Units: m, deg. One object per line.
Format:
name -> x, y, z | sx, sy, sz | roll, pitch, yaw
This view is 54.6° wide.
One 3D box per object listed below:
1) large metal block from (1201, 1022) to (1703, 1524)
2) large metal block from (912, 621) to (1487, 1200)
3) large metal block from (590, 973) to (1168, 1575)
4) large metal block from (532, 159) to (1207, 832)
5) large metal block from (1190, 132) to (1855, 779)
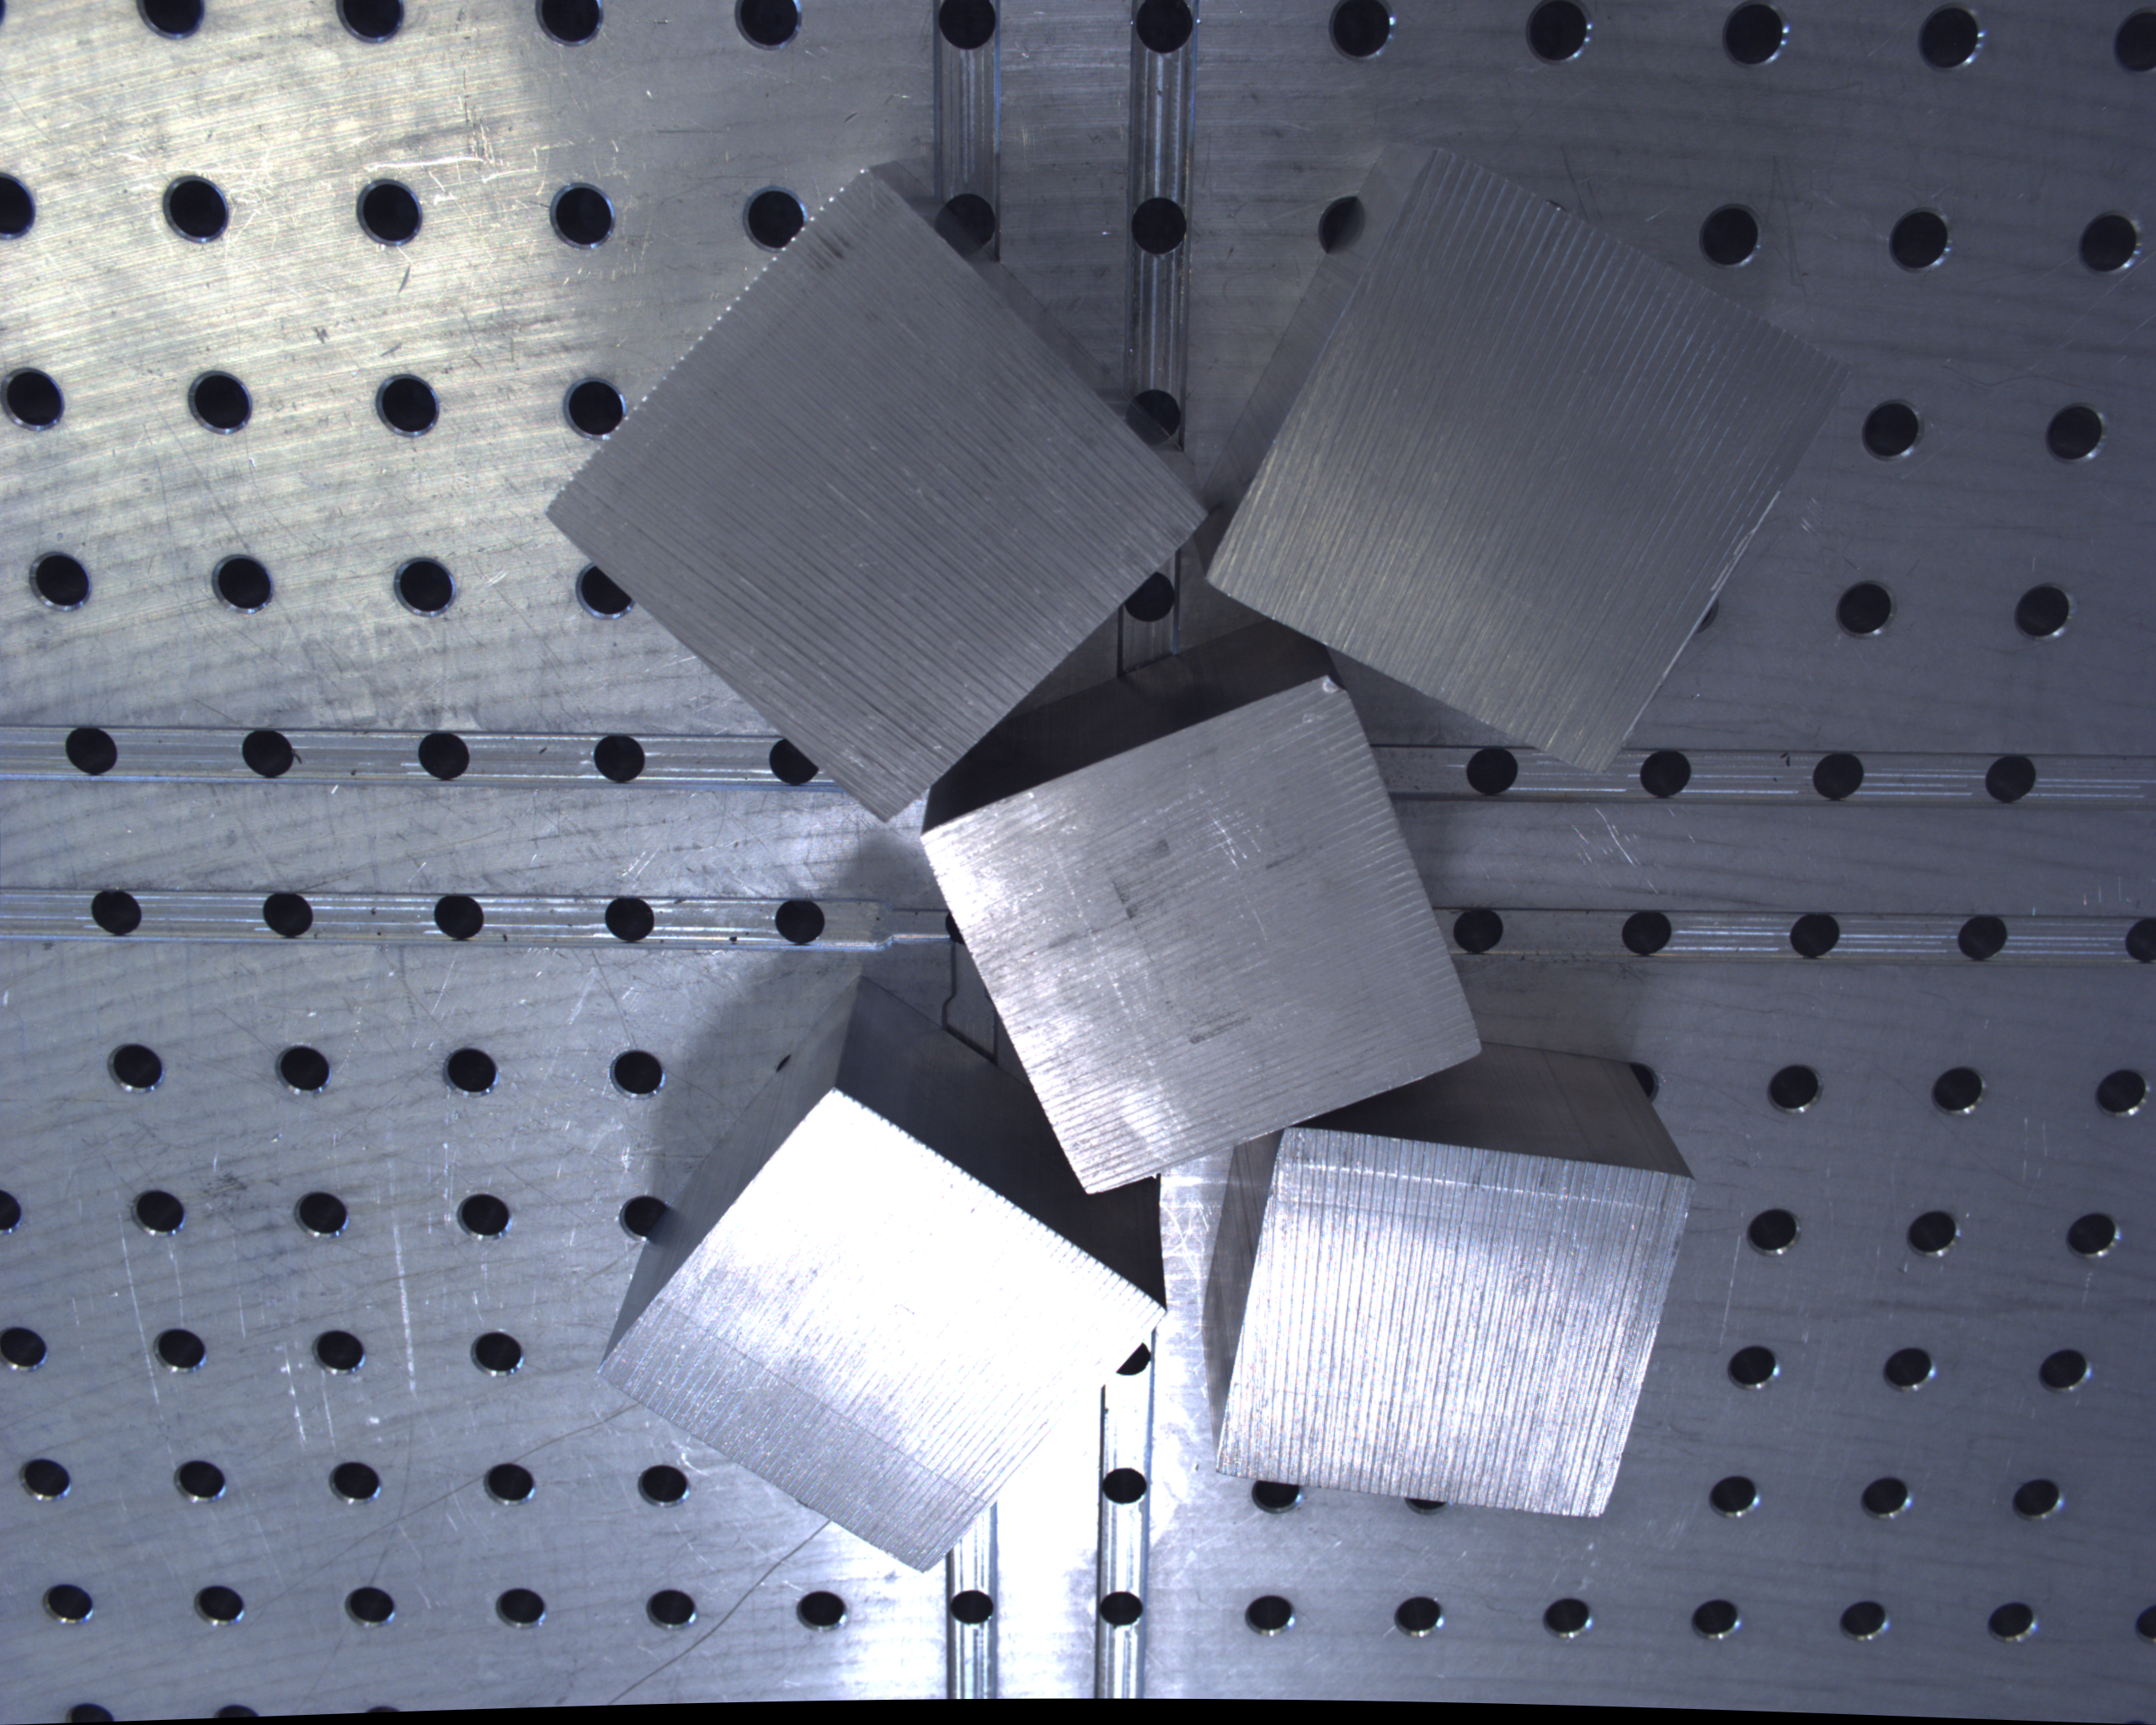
large metal block -> 0.073, 0.083, 0.431 | 0.080, 0.050, 0.079 | 8, 110, -4
large metal block -> 0.023, 0.007, 0.402 | 0.080, 0.050, 0.080 | -21, 109, 7
large metal block -> -0.039, 0.084, 0.429 | 0.080, 0.050, 0.080 | 36, 106, -12
large metal block -> -0.035, -0.067, 0.375 | 0.080, 0.050, 0.080 | -42, 104, 14
large metal block -> 0.074, -0.073, 0.372 | 0.080, 0.050, 0.080 | 23, 108, -12
